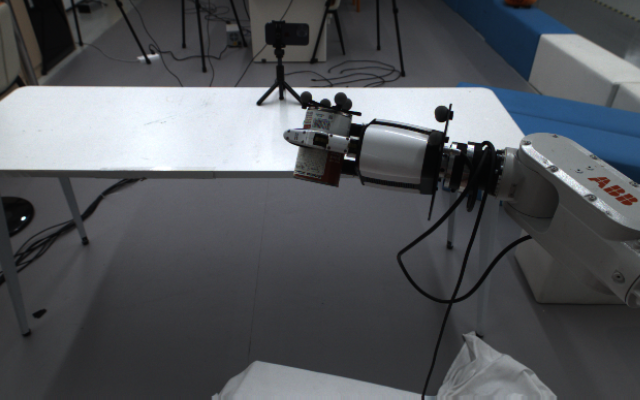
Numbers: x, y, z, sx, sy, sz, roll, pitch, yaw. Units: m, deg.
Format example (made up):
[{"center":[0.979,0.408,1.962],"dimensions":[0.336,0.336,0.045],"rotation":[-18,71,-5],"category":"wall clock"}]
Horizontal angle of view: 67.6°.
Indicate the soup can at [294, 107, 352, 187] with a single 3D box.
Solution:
[{"center":[0.004,-0.074,0.687],"dimensions":[0.067,0.101,0.067],"rotation":[12,2,0],"category":"soup can"}]
